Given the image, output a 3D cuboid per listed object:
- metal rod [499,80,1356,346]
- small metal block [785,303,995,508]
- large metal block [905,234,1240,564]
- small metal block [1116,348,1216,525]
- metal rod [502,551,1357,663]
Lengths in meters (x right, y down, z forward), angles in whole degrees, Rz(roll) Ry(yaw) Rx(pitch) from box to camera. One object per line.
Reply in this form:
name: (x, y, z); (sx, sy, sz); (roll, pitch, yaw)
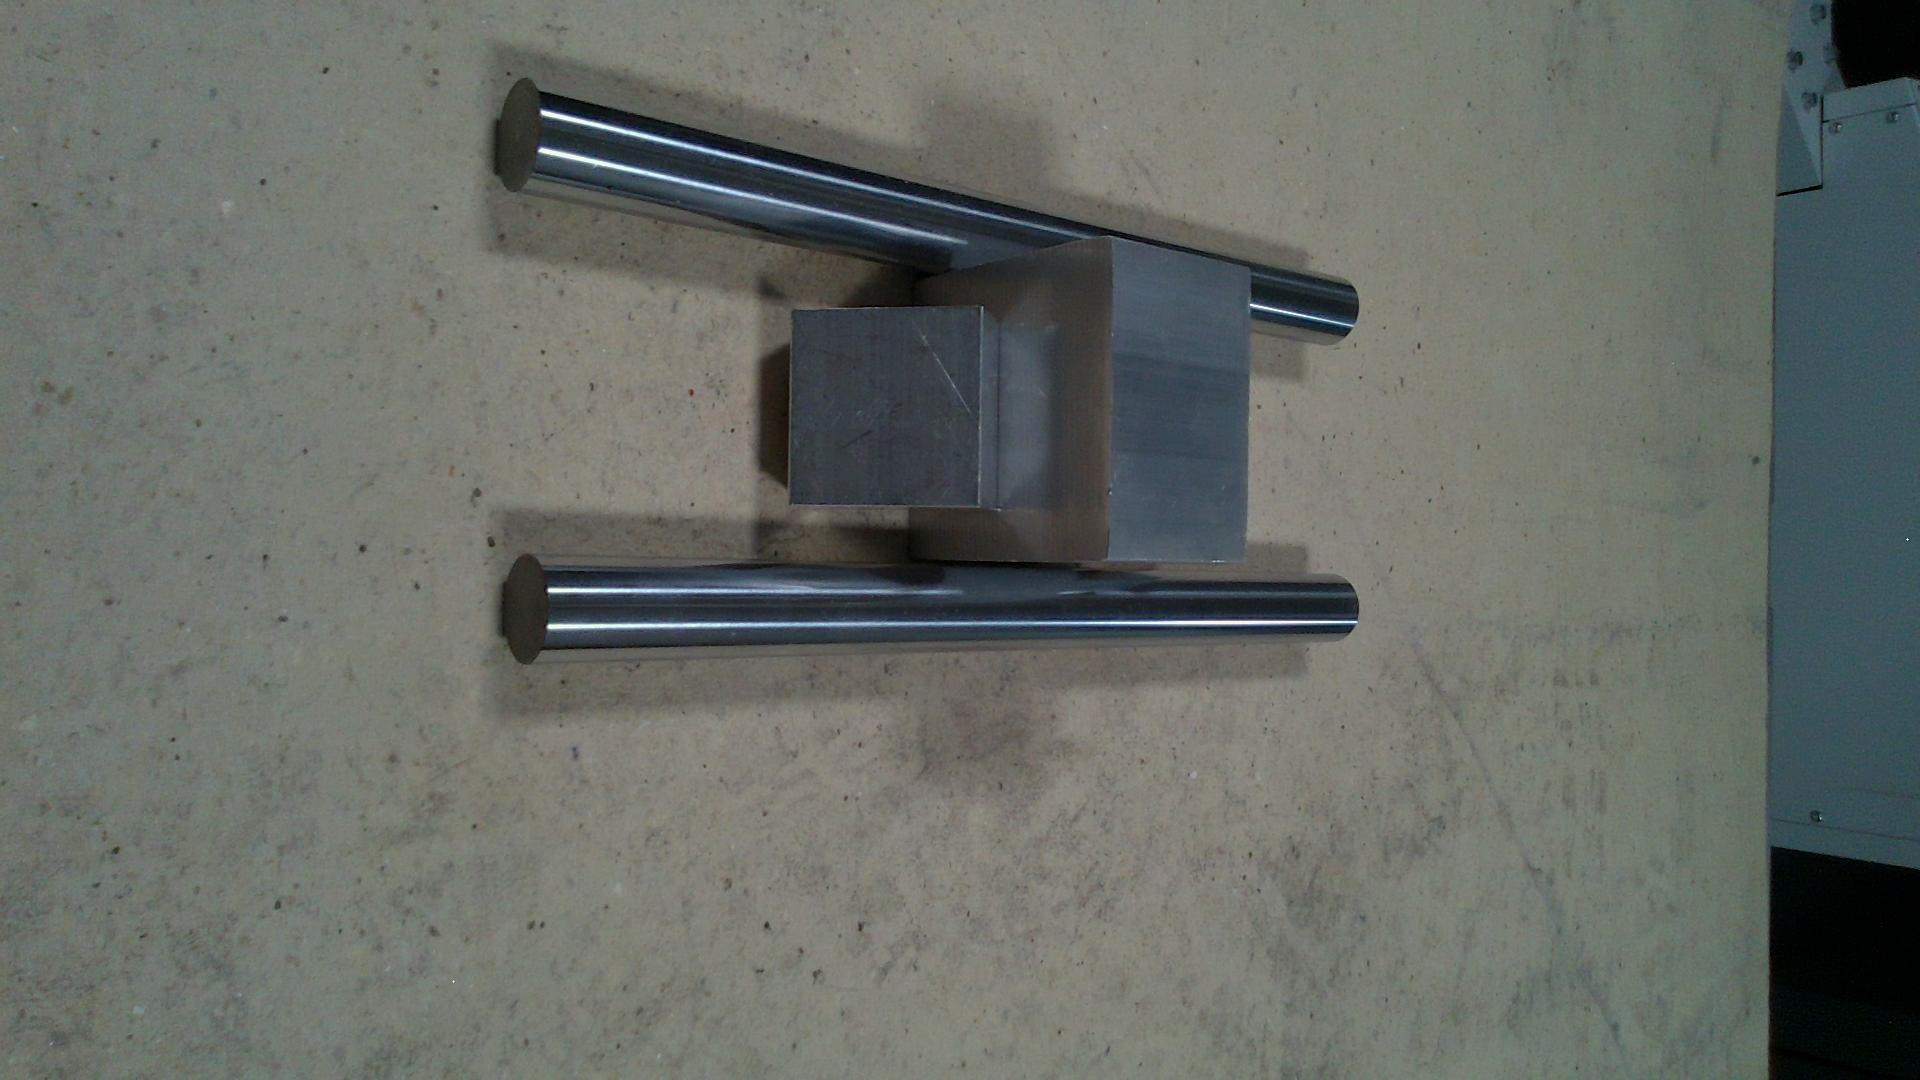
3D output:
metal rod: (0.018, -0.086, 0.403); (0.301, 0.025, 0.025); (2, 89, -40)
small metal block: (-0.017, -0.034, 0.357); (0.025, 0.050, 0.050); (3, 88, -79)
large metal block: (0.029, -0.034, 0.381); (0.050, 0.080, 0.080); (1, 89, -40)
small metal block: (0.062, -0.030, 0.423); (0.025, 0.050, 0.050); (0, 89, 2)
metal rod: (0.018, 0.020, 0.404); (0.301, 0.025, 0.025); (2, 89, -40)
